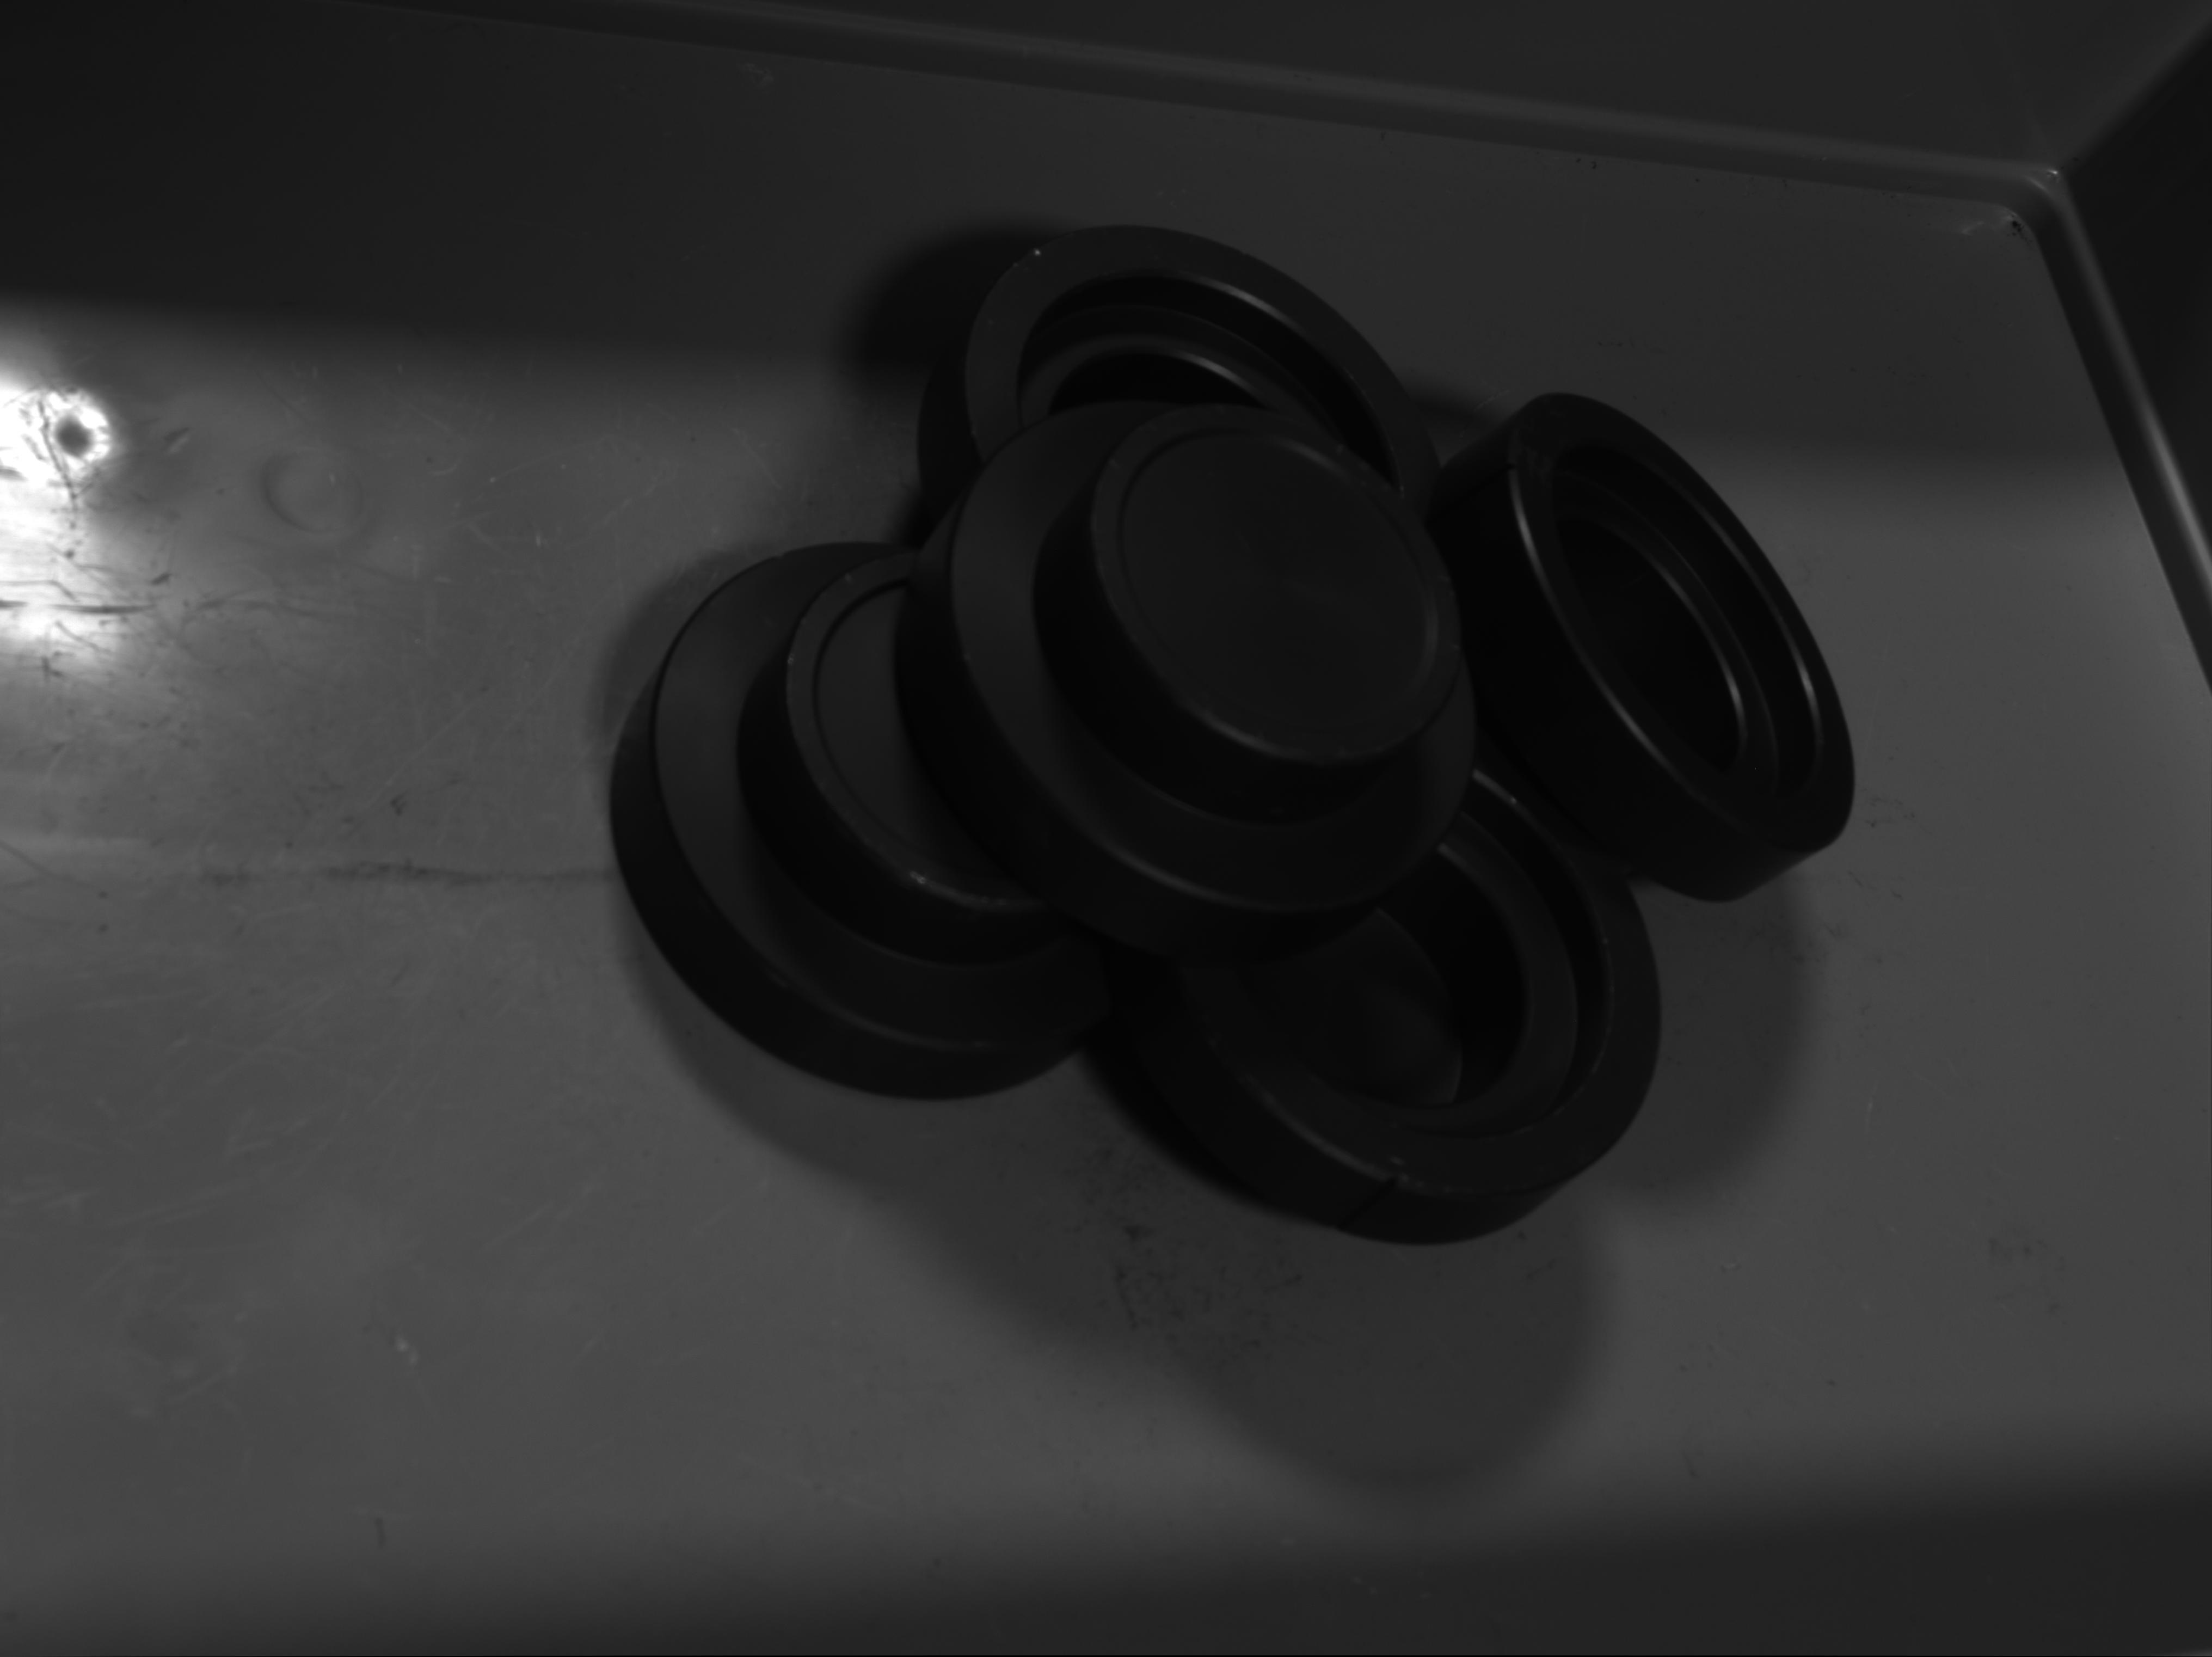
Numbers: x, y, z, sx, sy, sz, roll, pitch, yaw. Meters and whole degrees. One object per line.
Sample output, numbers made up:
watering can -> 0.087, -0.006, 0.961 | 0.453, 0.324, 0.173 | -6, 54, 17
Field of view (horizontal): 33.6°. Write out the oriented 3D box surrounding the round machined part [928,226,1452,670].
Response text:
round machined part -> 0.013, -0.058, 0.670 | 0.098, 0.042, 0.098 | 14, 56, -21

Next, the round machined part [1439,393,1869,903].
round machined part -> 0.095, -0.029, 0.682 | 0.098, 0.042, 0.098 | 32, 39, -31

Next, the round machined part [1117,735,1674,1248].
round machined part -> 0.046, 0.028, 0.635 | 0.098, 0.042, 0.098 | 14, 56, -21

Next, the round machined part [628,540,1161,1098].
round machined part -> -0.027, -0.008, 0.615 | 0.098, 0.042, 0.098 | 14, 56, -21

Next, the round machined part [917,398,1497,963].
round machined part -> 0.022, -0.031, 0.602 | 0.098, 0.042, 0.098 | 14, 56, -21
